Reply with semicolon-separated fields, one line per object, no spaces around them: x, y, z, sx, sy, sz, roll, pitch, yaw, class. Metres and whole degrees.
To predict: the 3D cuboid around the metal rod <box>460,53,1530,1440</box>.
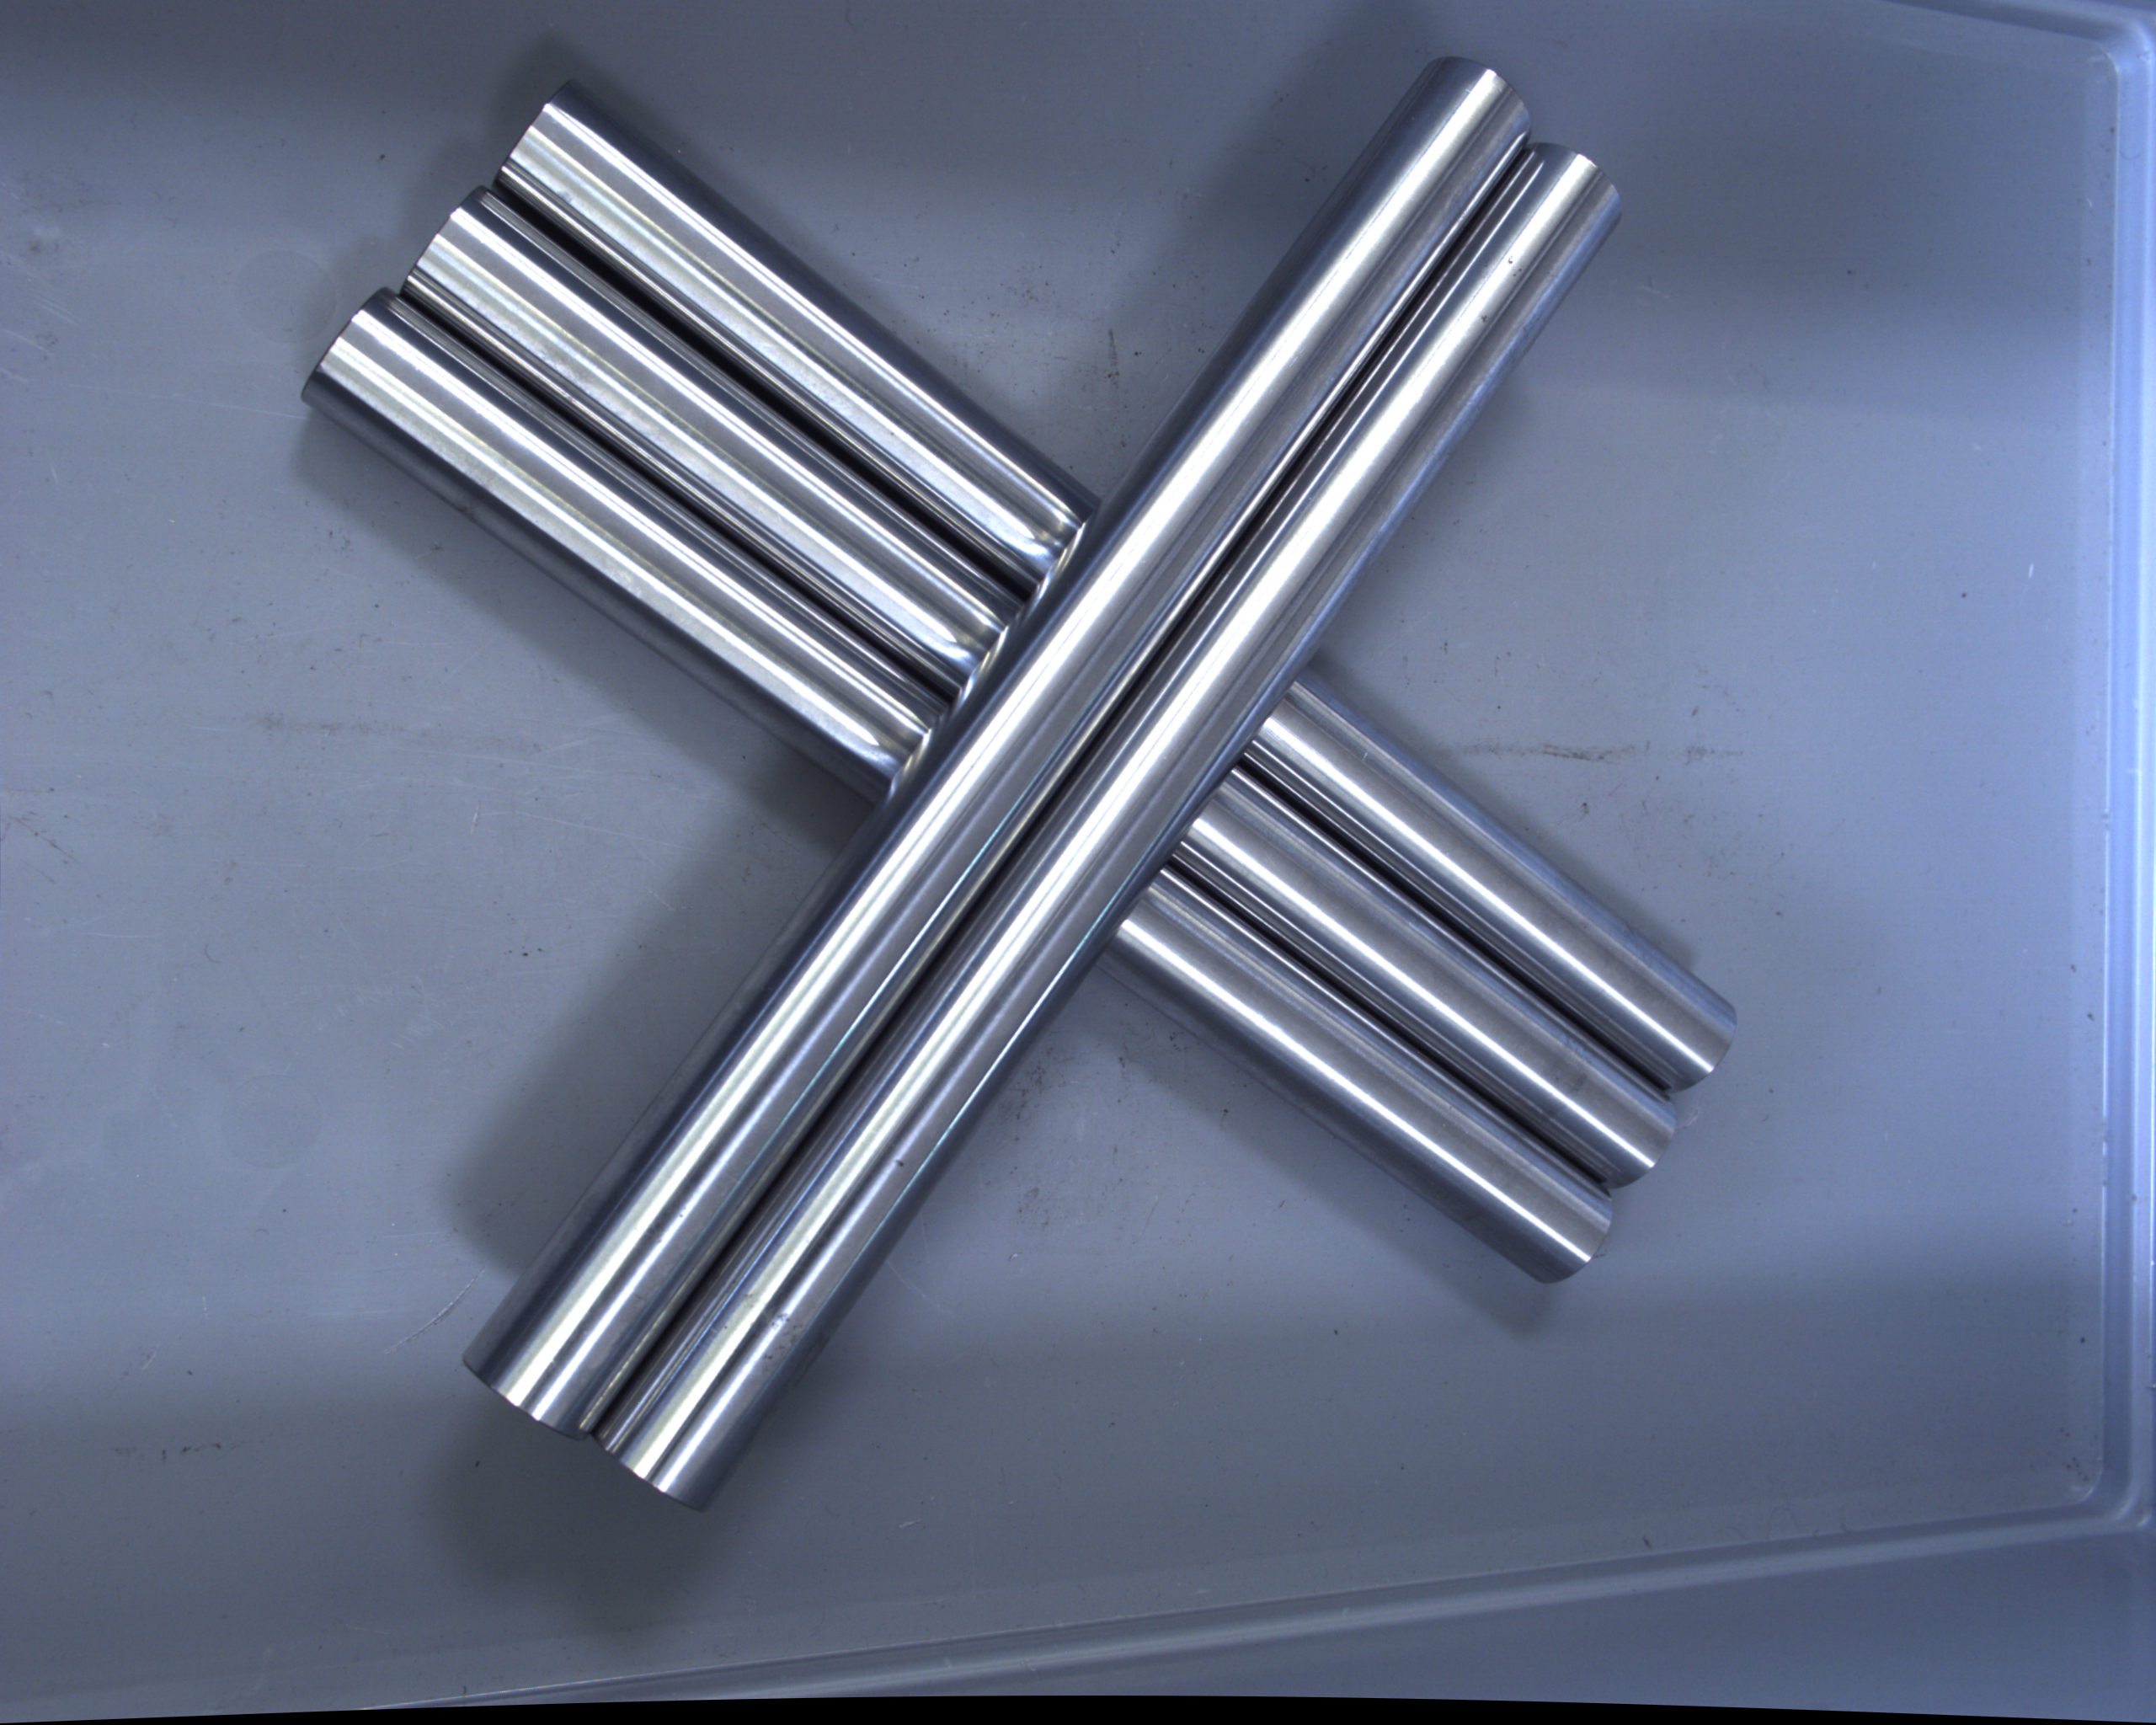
-0.007;-0.030;0.379;0.025;0.025;0.300;39;78;-16;metal rod

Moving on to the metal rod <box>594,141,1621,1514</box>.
0.012;-0.016;0.387;0.025;0.025;0.300;39;78;-16;metal rod

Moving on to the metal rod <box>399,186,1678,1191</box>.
0.004;-0.024;0.410;0.301;0.025;0.025;36;79;-17;metal rod

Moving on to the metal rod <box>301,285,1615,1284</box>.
-0.011;-0.005;0.405;0.301;0.025;0.025;36;79;-17;metal rod

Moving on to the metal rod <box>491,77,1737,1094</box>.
0.019;-0.045;0.416;0.301;0.025;0.025;36;78;-17;metal rod
